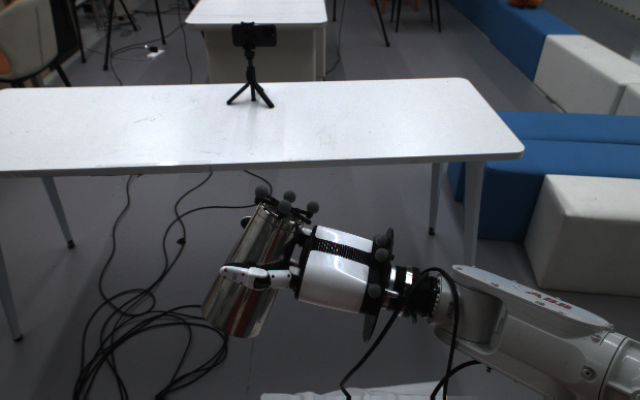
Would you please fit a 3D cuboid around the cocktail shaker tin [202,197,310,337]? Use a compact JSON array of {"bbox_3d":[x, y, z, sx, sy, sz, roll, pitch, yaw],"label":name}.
[{"bbox_3d":[-0.085,0.089,0.661,0.093,0.170,0.093,24,12,-6],"label":"cocktail shaker tin"}]
